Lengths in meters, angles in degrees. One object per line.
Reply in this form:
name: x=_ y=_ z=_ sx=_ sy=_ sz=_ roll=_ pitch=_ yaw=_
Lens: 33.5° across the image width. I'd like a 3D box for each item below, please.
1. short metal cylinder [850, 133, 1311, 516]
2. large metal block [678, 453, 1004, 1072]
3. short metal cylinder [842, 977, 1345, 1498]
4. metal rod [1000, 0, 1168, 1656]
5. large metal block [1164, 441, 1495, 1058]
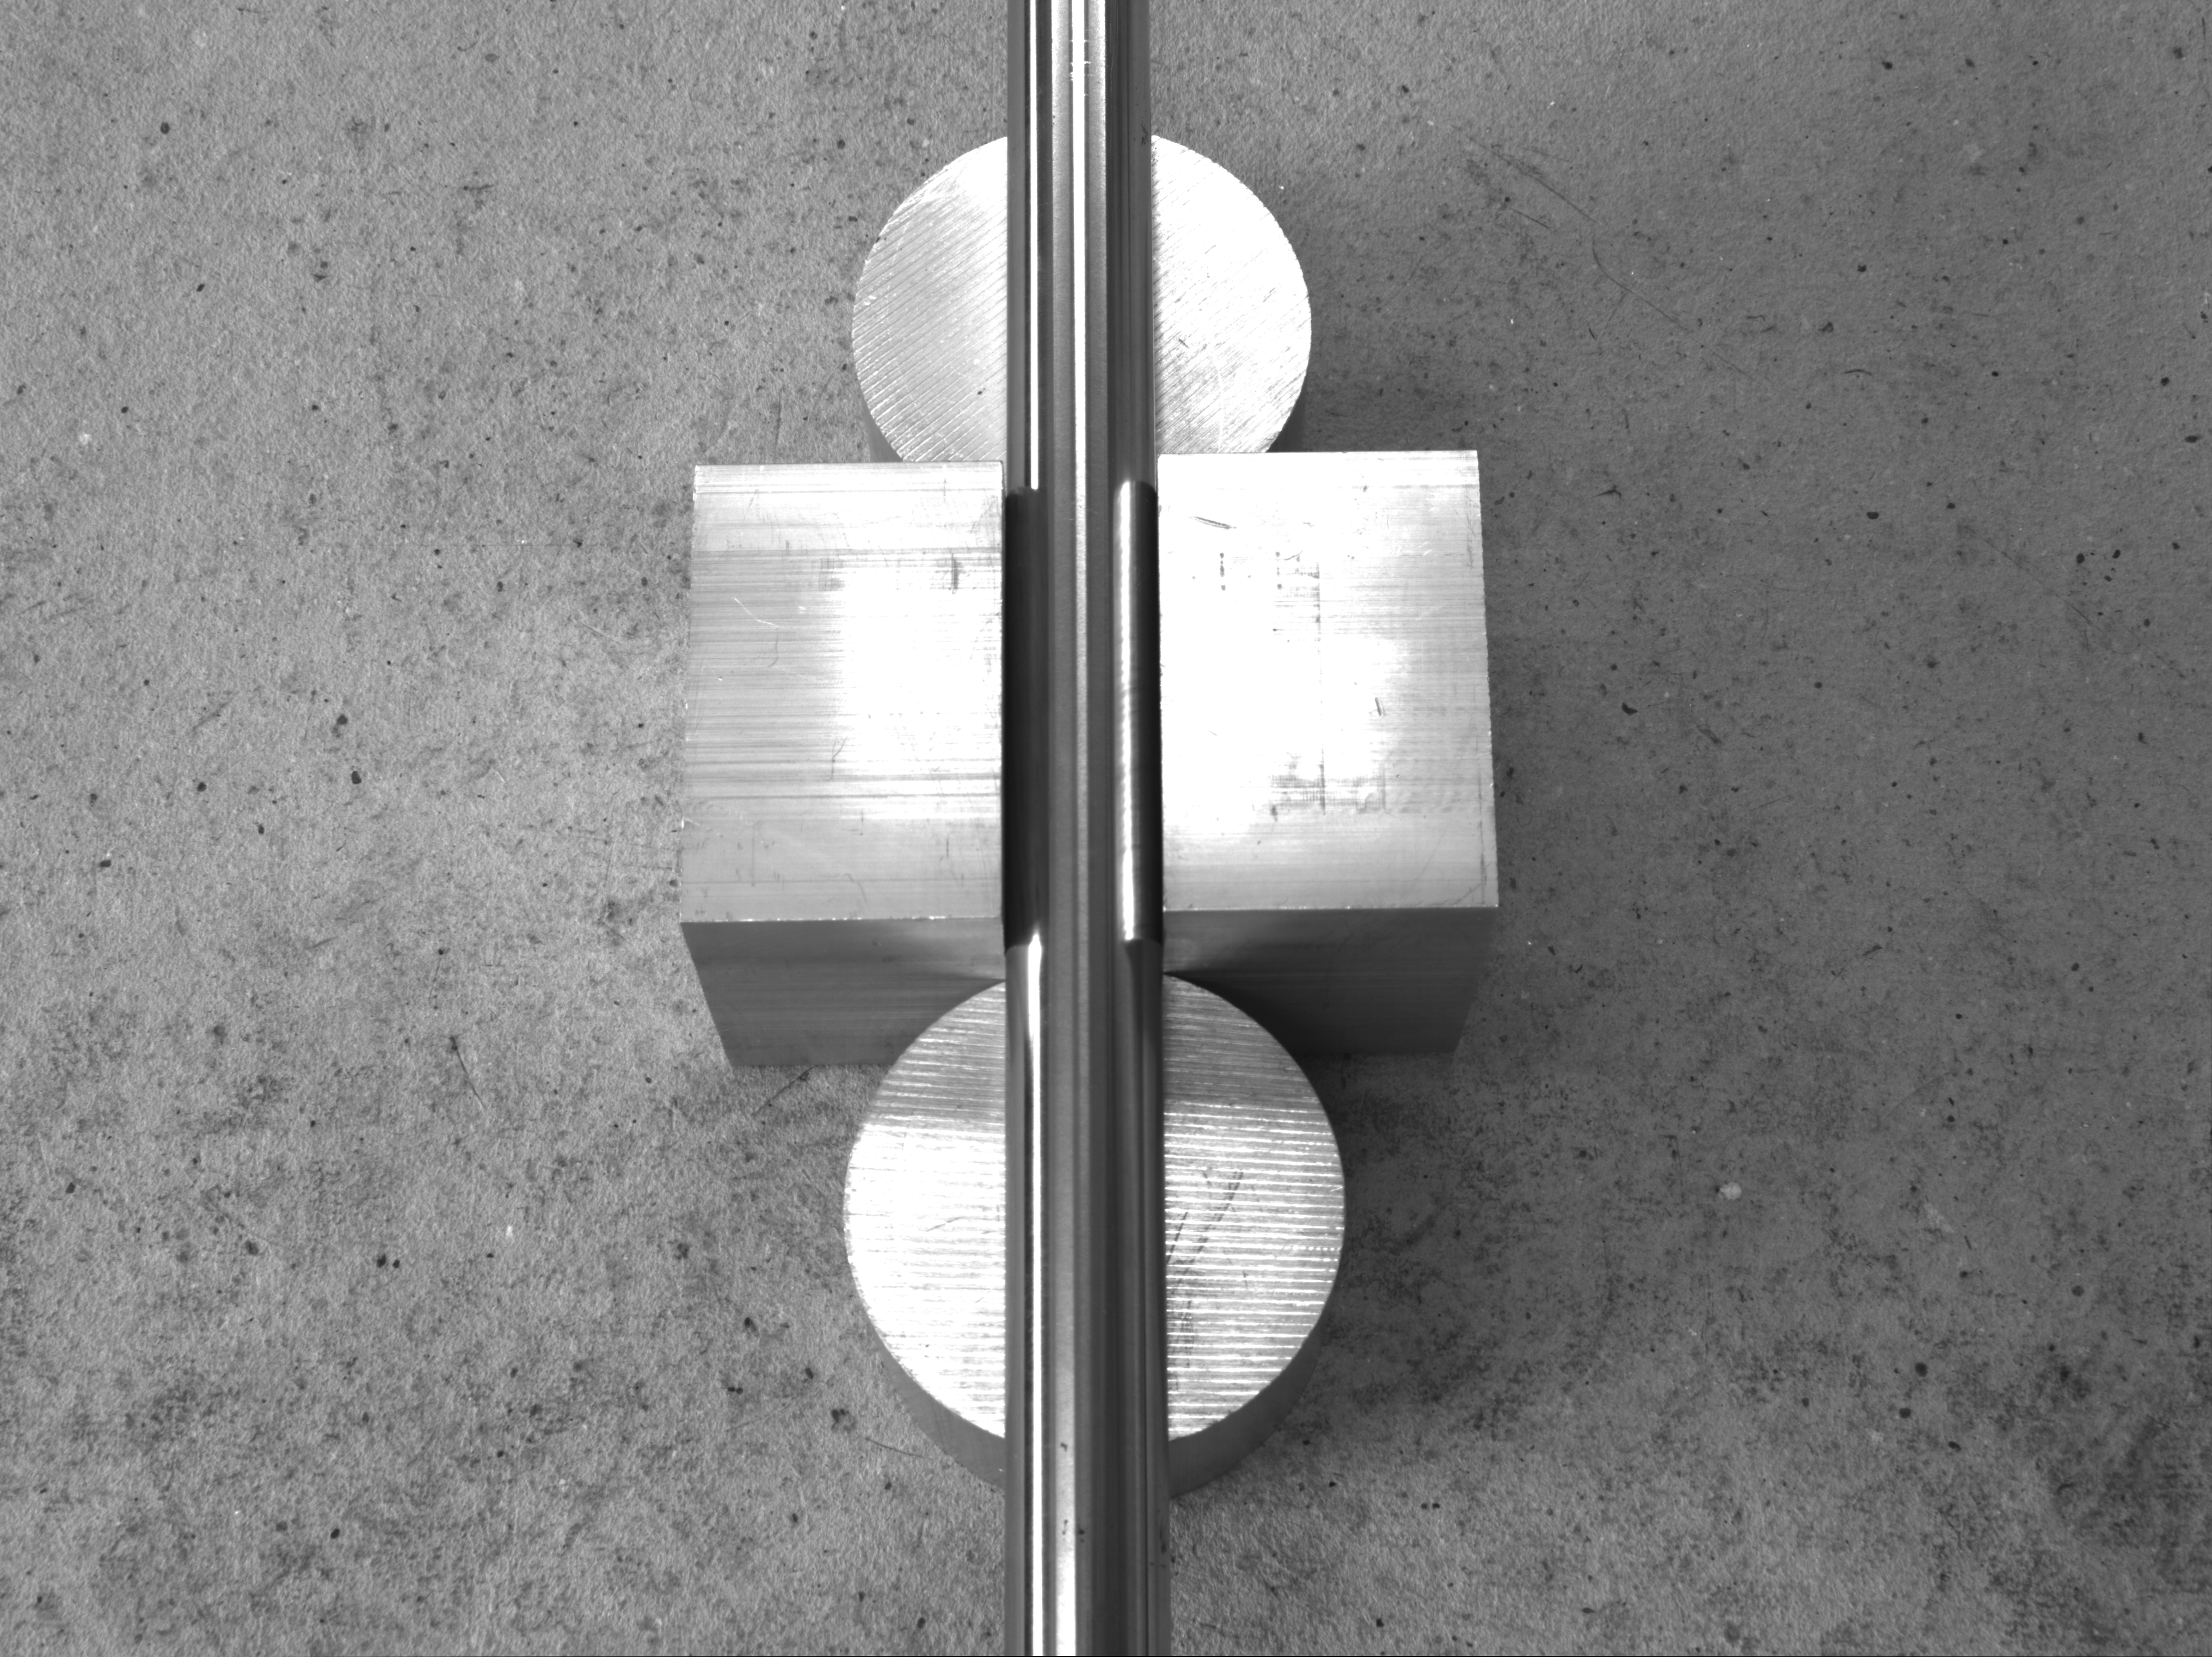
short metal cylinder: x=-0.004 y=-0.079 z=0.661 sx=0.080 sy=0.050 sz=0.080 roll=0 pitch=69 yaw=0
large metal block: x=-0.041 y=-0.009 z=0.620 sx=0.050 sy=0.080 sz=0.080 roll=-1 pitch=70 yaw=0
short metal cylinder: x=-0.002 y=0.069 z=0.608 sx=0.080 sy=0.050 sz=0.080 roll=0 pitch=69 yaw=0
metal rod: x=-0.004 y=-0.007 z=0.594 sx=0.025 sy=0.025 sz=0.300 roll=-1 pitch=70 yaw=0
large metal block: x=0.035 y=-0.011 z=0.620 sx=0.050 sy=0.080 sz=0.080 roll=-1 pitch=70 yaw=0
